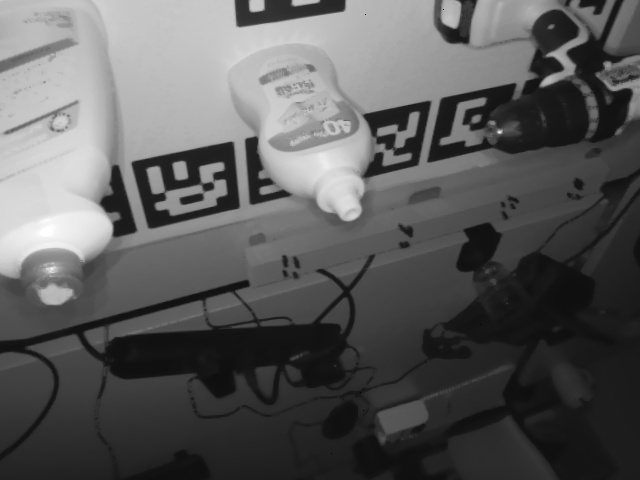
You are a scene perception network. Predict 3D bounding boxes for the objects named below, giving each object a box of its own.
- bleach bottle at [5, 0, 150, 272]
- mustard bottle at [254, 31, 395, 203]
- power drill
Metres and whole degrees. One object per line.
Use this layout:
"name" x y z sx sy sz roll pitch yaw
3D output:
"bleach bottle" -0.157 -0.082 0.474 0.104 0.251 0.067 -6 138 -21
"mustard bottle" 0.011 -0.103 0.593 0.097 0.192 0.058 -16 141 -8
"power drill" 0.202 -0.152 0.591 0.186 0.187 0.057 -19 142 -14
